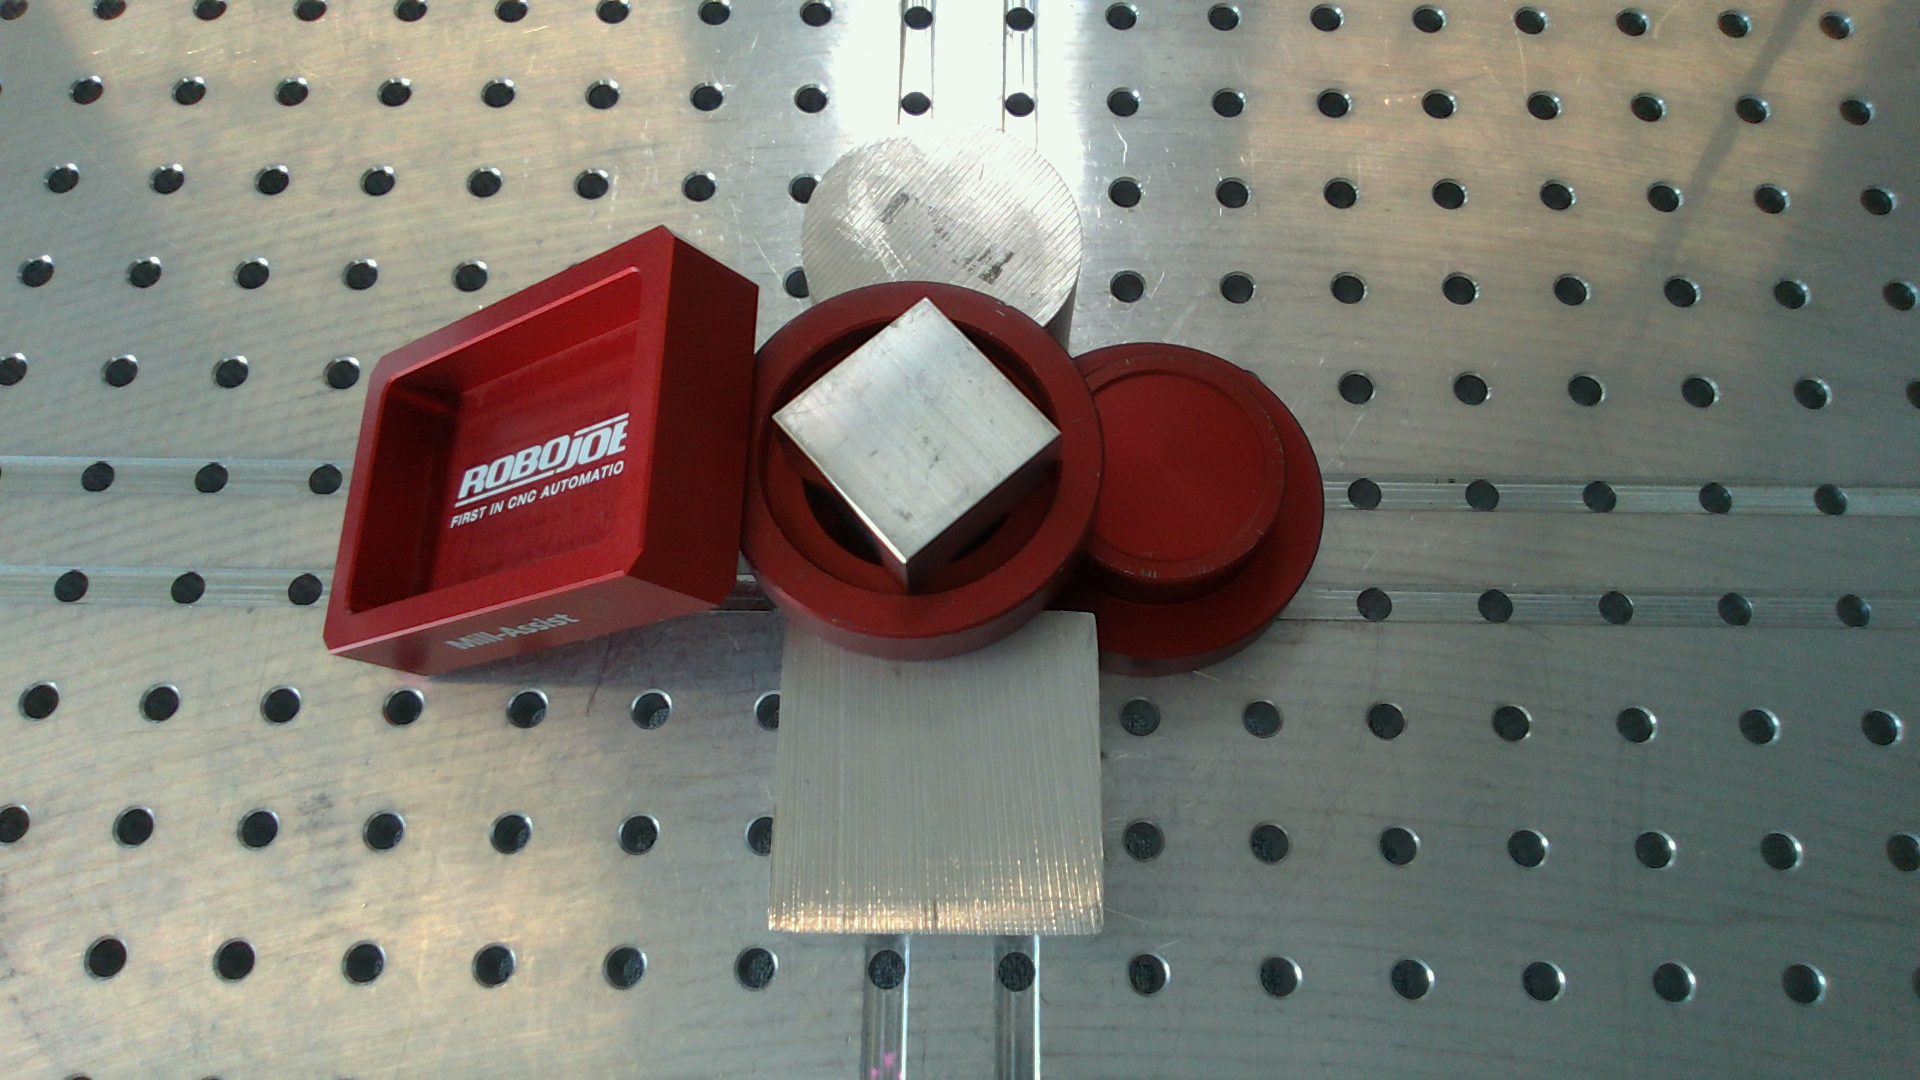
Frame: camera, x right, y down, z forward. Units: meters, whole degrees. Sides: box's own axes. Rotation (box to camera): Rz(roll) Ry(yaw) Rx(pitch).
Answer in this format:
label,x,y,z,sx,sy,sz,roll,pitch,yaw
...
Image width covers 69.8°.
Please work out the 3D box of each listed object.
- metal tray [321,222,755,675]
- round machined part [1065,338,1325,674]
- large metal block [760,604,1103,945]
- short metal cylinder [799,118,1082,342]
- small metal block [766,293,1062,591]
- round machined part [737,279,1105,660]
label,x,y,z,sx,sy,sz,roll,pitch,yaw
metal tray,-0.113,-0.019,0.363,0.129,0.030,0.090,-14,65,35
round machined part,0.055,-0.014,0.392,0.098,0.042,0.098,0,70,0
large metal block,-0.006,0.062,0.358,0.080,0.050,0.080,1,70,0
short metal cylinder,-0.005,-0.077,0.411,0.080,0.050,0.080,0,70,0
small metal block,-0.011,-0.024,0.340,0.050,0.025,0.050,-40,75,-13
round machined part,-0.013,-0.016,0.363,0.098,0.042,0.098,0,70,0
